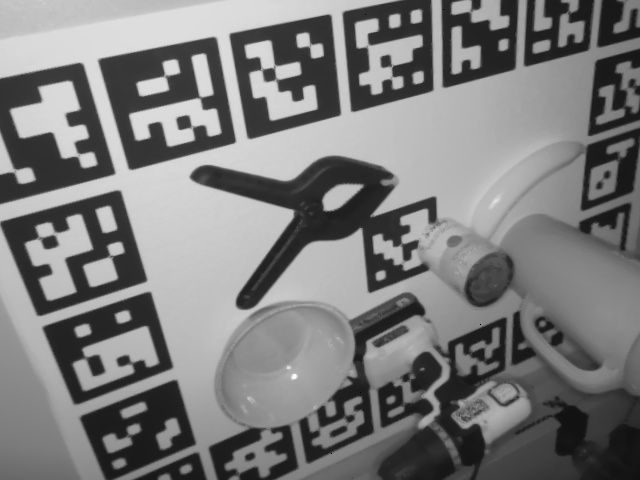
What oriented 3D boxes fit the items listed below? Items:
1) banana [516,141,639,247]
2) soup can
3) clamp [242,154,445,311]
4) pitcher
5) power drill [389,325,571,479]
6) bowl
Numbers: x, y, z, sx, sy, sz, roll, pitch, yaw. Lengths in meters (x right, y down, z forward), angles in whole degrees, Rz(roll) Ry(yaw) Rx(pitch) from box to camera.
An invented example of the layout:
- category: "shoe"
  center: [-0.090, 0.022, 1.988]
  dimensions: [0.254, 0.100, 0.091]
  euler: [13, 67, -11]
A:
- category: "banana"
  center: [0.308, -0.064, 0.836]
  dimensions: [0.198, 0.038, 0.074]
  euler: [-39, 132, -3]
- category: "soup can"
  center: [0.214, 0.030, 0.793]
  dimensions: [0.069, 0.102, 0.067]
  euler: [-15, 128, -20]
- category: "clamp"
  center: [0.036, -0.032, 0.705]
  dimensions: [0.205, 0.036, 0.164]
  euler: [-21, 116, -17]
- category: "pitcher"
  center: [0.361, 0.076, 0.802]
  dimensions: [0.189, 0.241, 0.133]
  euler: [-39, 127, -4]
- category: "power drill"
  center: [0.144, 0.175, 0.751]
  dimensions: [0.186, 0.186, 0.057]
  euler: [-22, 121, -15]
- category: "bowl"
  center: [0.004, 0.124, 0.758]
  dimensions: [0.164, 0.055, 0.160]
  euler: [-11, 116, -22]
